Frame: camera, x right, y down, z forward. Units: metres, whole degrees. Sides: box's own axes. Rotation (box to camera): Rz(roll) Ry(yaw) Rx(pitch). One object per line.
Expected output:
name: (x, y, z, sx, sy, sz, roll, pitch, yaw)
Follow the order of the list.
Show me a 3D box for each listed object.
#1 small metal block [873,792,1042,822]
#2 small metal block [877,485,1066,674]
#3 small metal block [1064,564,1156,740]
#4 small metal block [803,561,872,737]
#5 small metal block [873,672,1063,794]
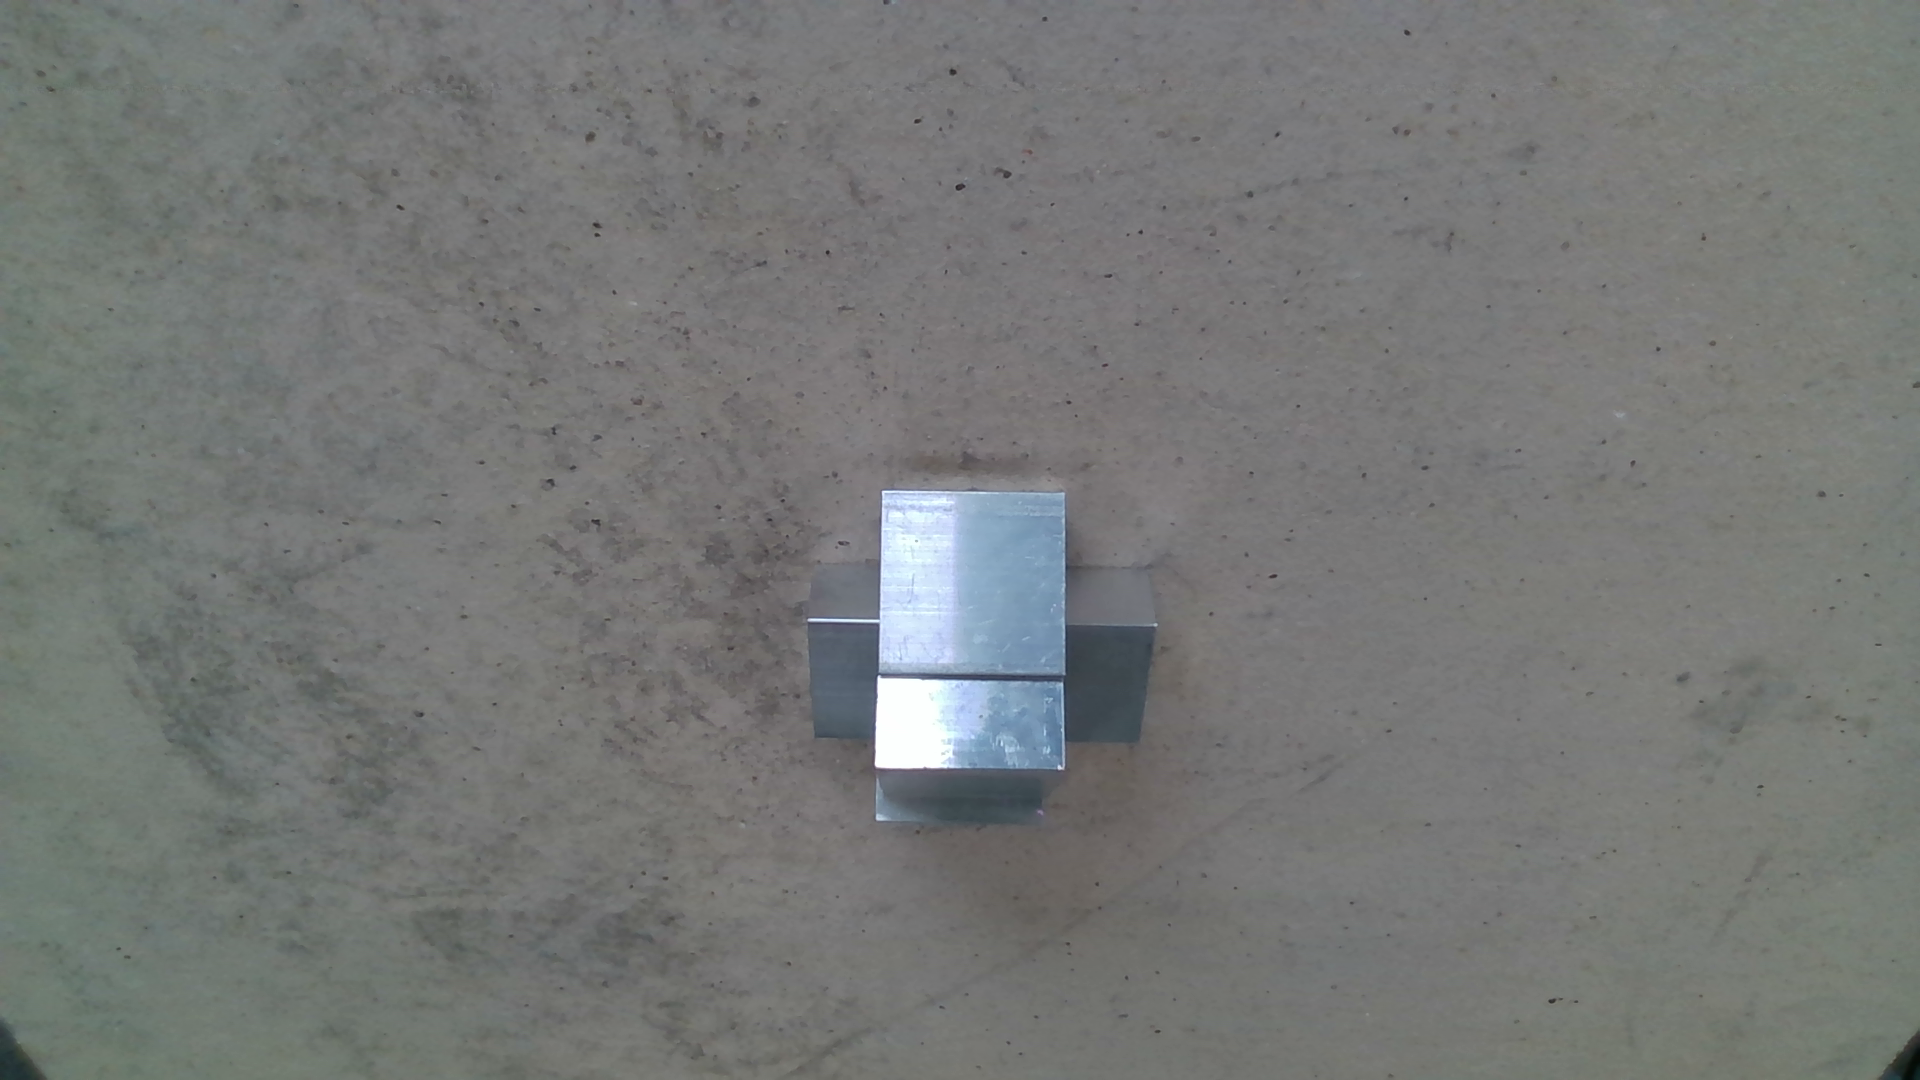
small metal block: (-0.001, 0.075, 0.436, 0.050, 0.025, 0.050, 1, 170, -1)
small metal block: (0.003, 0.012, 0.381, 0.050, 0.050, 0.025, 1, 172, 0)
small metal block: (0.031, 0.034, 0.418, 0.050, 0.025, 0.050, 1, 130, -1)
small metal block: (-0.020, 0.034, 0.417, 0.050, 0.025, 0.050, 1, 130, -1)
small metal block: (0.002, 0.056, 0.389, 0.050, 0.025, 0.050, 1, 161, -1)
